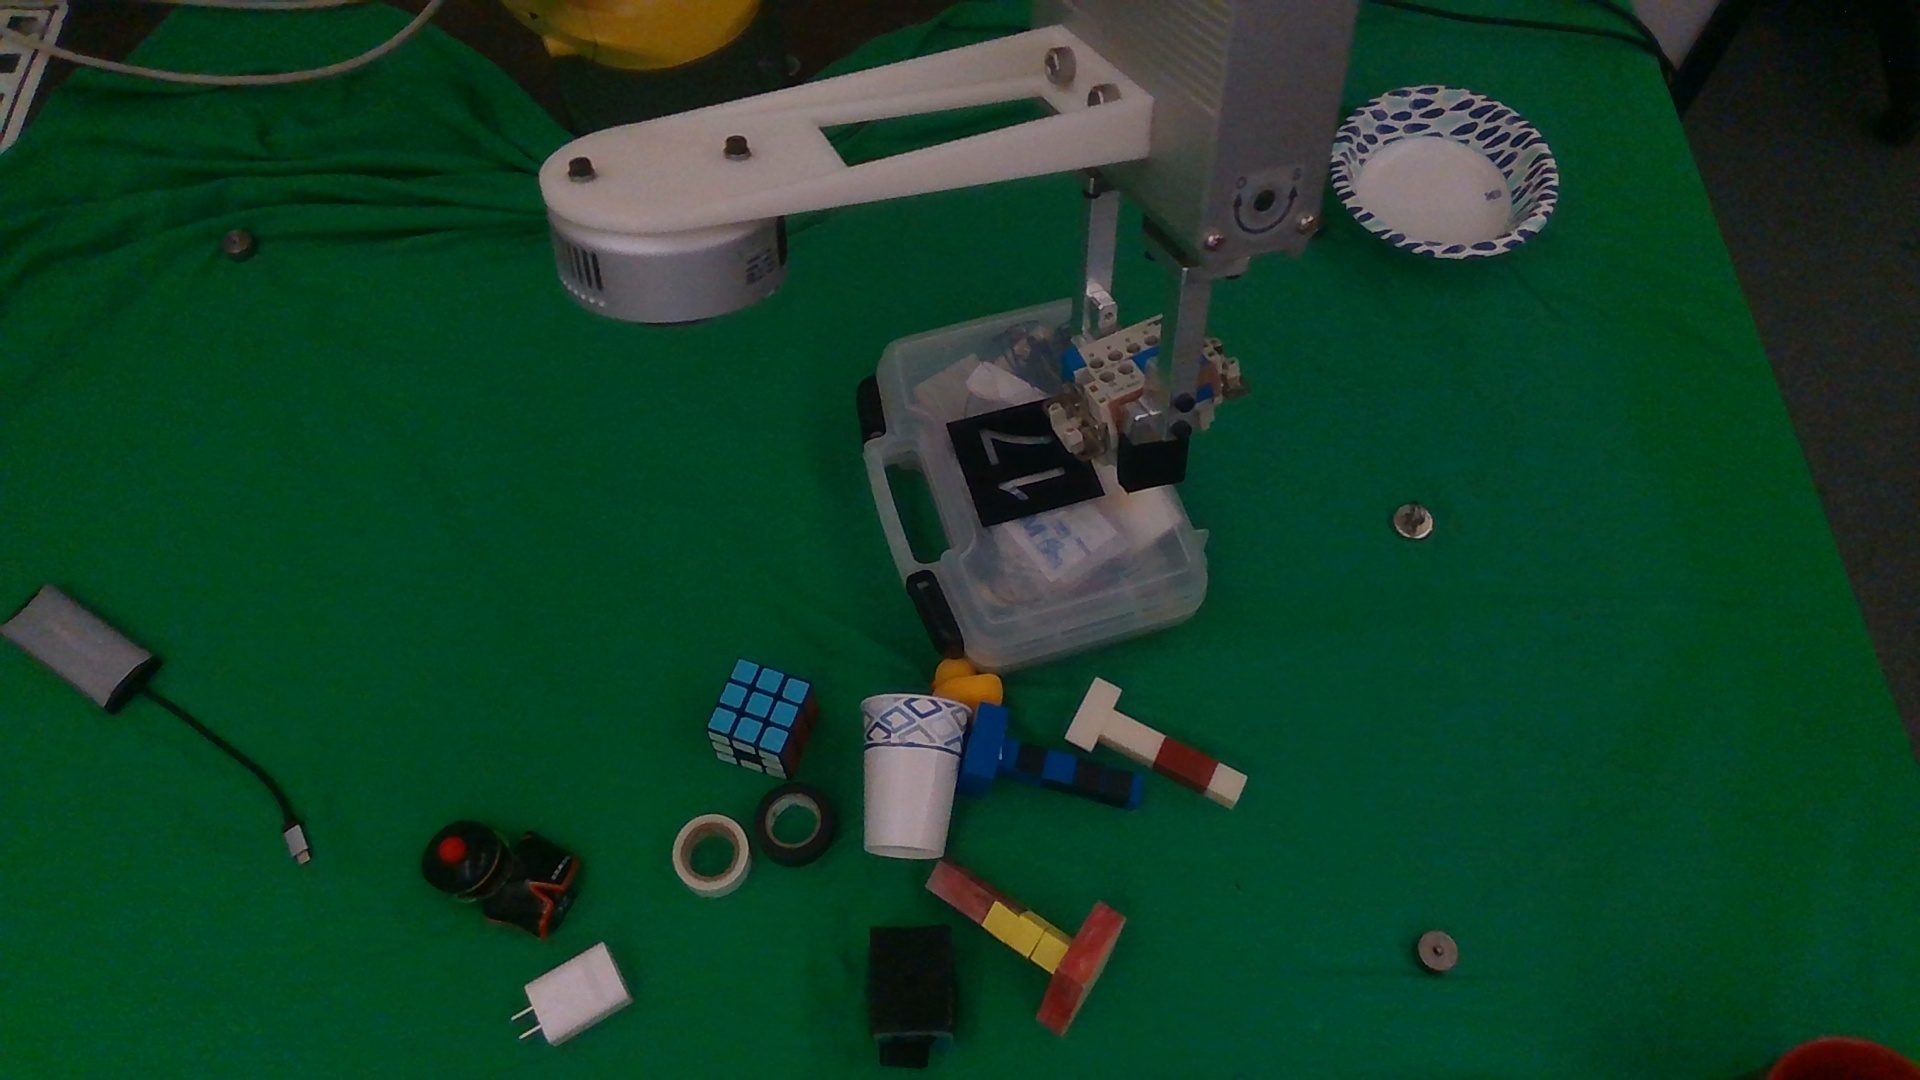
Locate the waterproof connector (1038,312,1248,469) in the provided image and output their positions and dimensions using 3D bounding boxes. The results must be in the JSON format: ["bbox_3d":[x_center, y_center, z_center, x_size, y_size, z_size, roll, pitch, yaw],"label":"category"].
[{"bbox_3d":[0.061,-0.049,0.466,0.065,0.037,0.035,-24,44,-7],"label":"waterproof connector"}]

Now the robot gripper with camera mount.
[{"bbox_3d":[-0.015,-0.072,0.409,0.193,0.158,0.119,-16,39,-12],"label":"robot gripper with camera mount"}]
